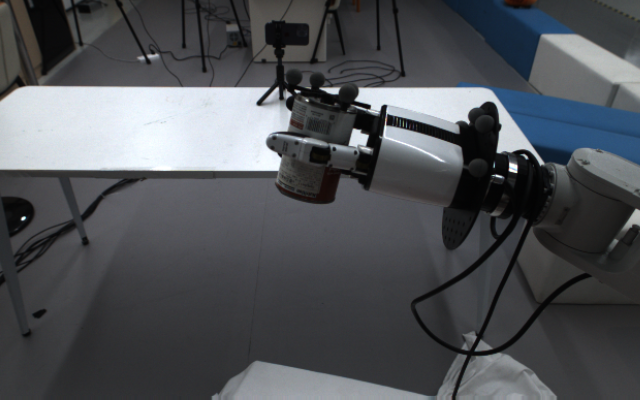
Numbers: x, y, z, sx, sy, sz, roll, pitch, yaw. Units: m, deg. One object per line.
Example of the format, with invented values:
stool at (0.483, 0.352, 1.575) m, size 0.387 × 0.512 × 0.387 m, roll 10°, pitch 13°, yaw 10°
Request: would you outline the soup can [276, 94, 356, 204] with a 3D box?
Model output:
soup can at (-0.003, -0.055, 0.515) m, size 0.067 × 0.101 × 0.067 m, roll 13°, pitch 18°, yaw -4°
